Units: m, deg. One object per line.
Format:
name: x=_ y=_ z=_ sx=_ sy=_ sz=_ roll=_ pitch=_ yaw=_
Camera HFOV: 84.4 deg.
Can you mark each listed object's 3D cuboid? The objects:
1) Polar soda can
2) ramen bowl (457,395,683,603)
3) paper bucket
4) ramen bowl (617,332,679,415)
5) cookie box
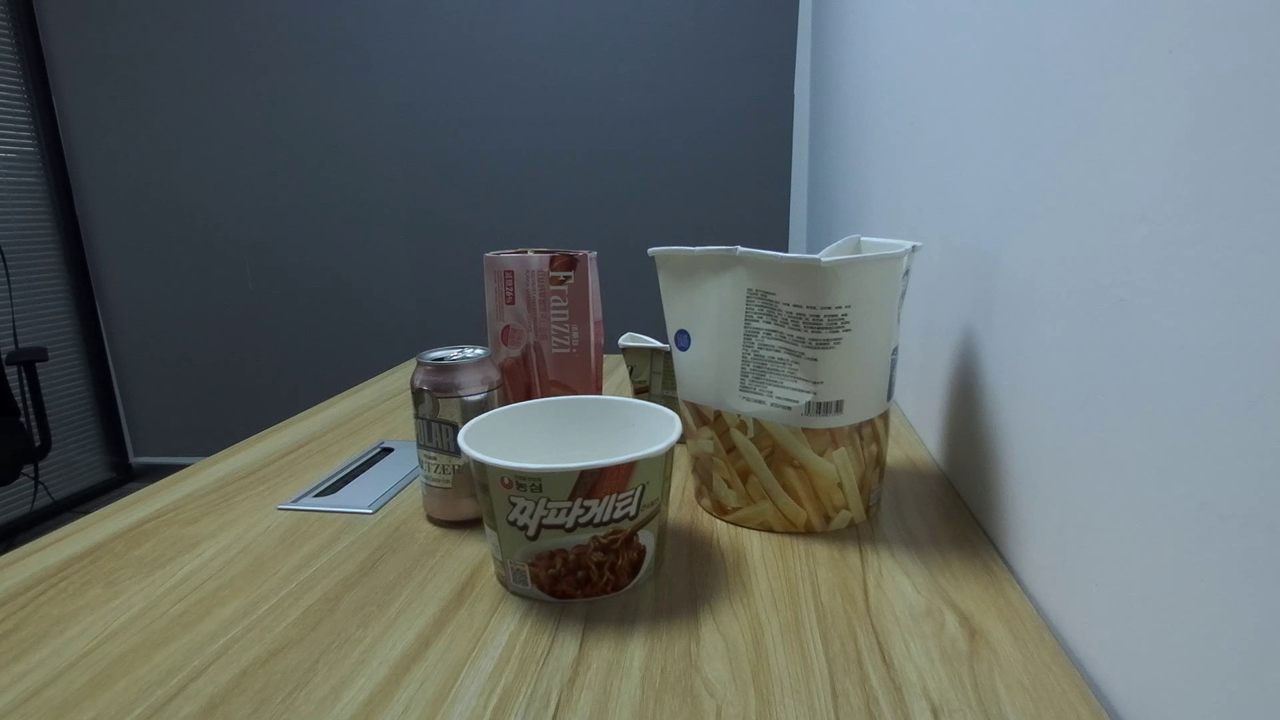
Polar soda can: x=-0.136 y=0.056 z=0.538 sx=0.067 sy=0.125 sz=0.067 roll=-3 pitch=12 yaw=1
ramen bowl: x=-0.042 y=0.086 z=0.455 sx=0.140 sy=0.095 sz=0.140 roll=0 pitch=12 yaw=0
paper bucket: x=0.119 y=0.008 z=0.541 sx=0.163 sy=0.202 sz=0.168 roll=-12 pitch=19 yaw=-42
ramen bowl: x=0.045 y=0.019 z=0.720 sx=0.128 sy=0.093 sz=0.112 roll=4 pitch=16 yaw=28
cookie box: x=-0.083 y=-0.010 z=0.661 sx=0.105 sy=0.187 sz=0.049 roll=0 pitch=10 yaw=9
